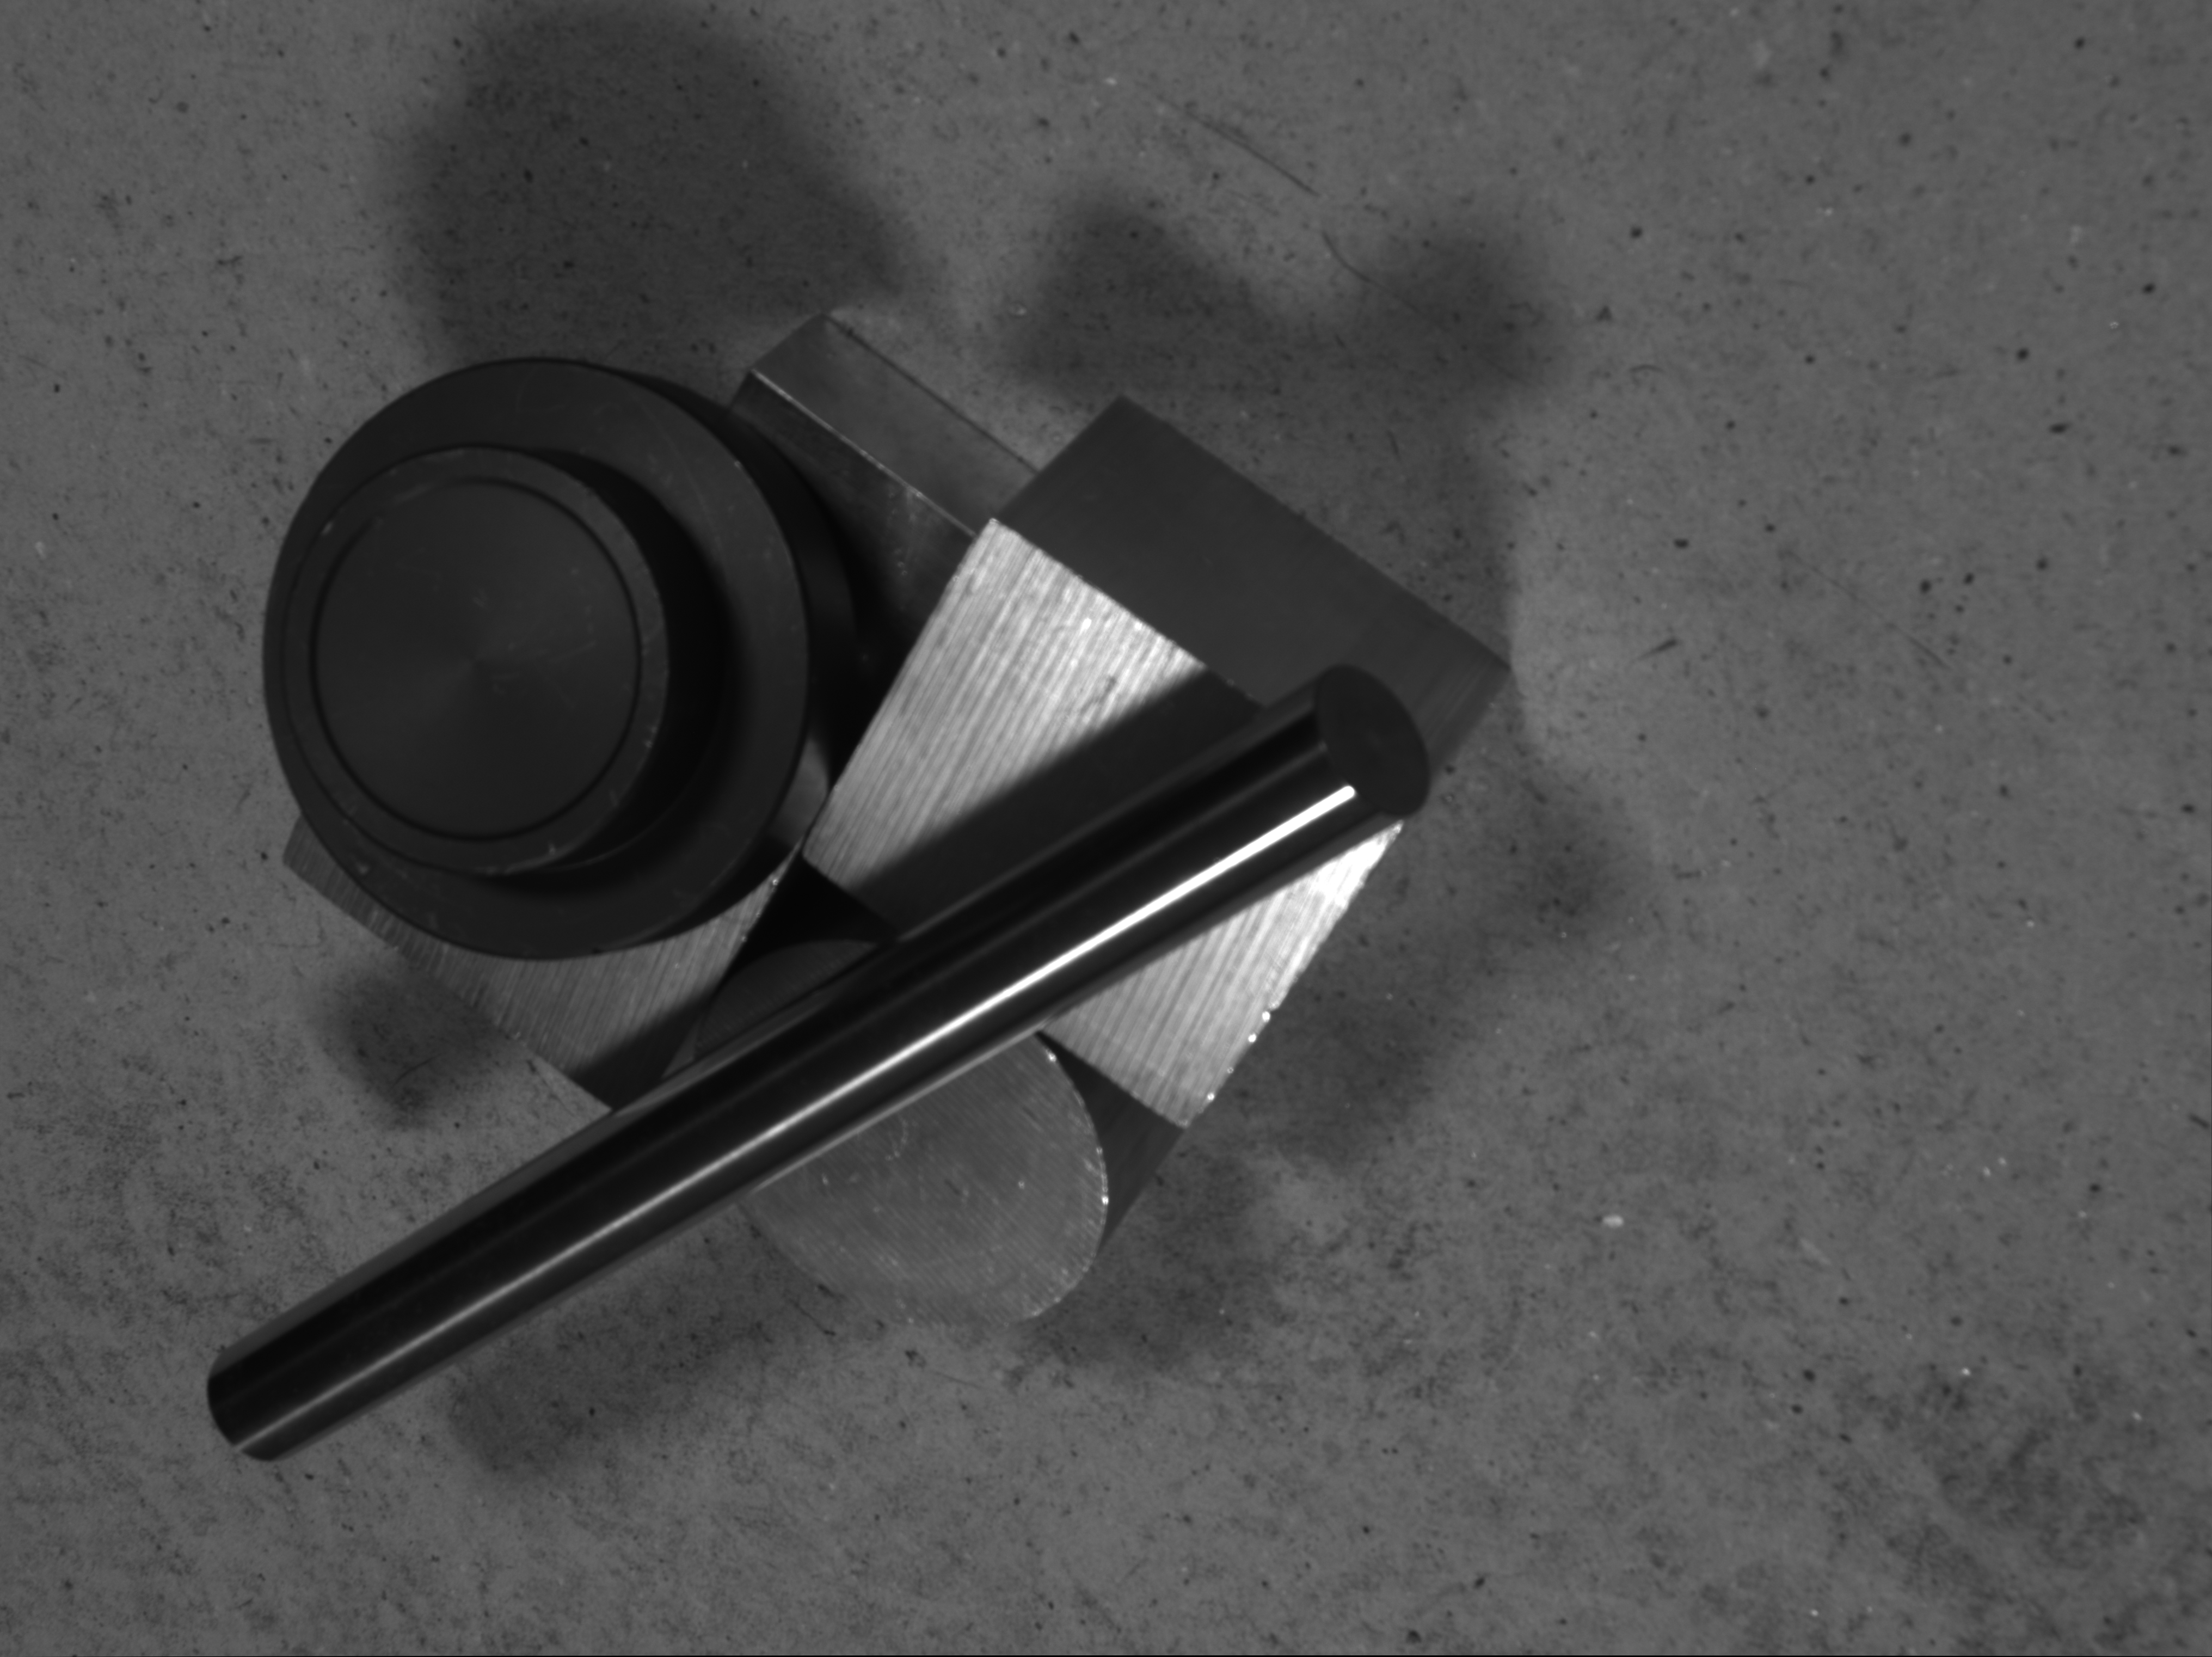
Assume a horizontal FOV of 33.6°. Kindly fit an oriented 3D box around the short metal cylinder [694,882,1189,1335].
[{"bbox_3d":[-0.027,0.043,0.654,0.080,0.050,0.080,12,123,20],"label":"short metal cylinder"}]

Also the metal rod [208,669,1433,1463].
[{"bbox_3d":[-0.063,0.050,0.629,0.299,0.025,0.025,-31,101,37],"label":"metal rod"}]

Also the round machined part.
[{"bbox_3d":[-0.093,-0.027,0.594,0.098,0.042,0.098,1,92,16],"label":"round machined part"}]

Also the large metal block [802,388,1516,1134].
[{"bbox_3d":[0.007,-0.011,0.605,0.080,0.050,0.080,36,128,3],"label":"large metal block"}]

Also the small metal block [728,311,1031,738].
[{"bbox_3d":[-0.045,-0.050,0.622,0.050,0.025,0.050,37,128,3],"label":"small metal block"}]

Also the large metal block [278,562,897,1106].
[{"bbox_3d":[-0.090,-0.009,0.653,0.080,0.050,0.080,36,128,3],"label":"large metal block"}]
